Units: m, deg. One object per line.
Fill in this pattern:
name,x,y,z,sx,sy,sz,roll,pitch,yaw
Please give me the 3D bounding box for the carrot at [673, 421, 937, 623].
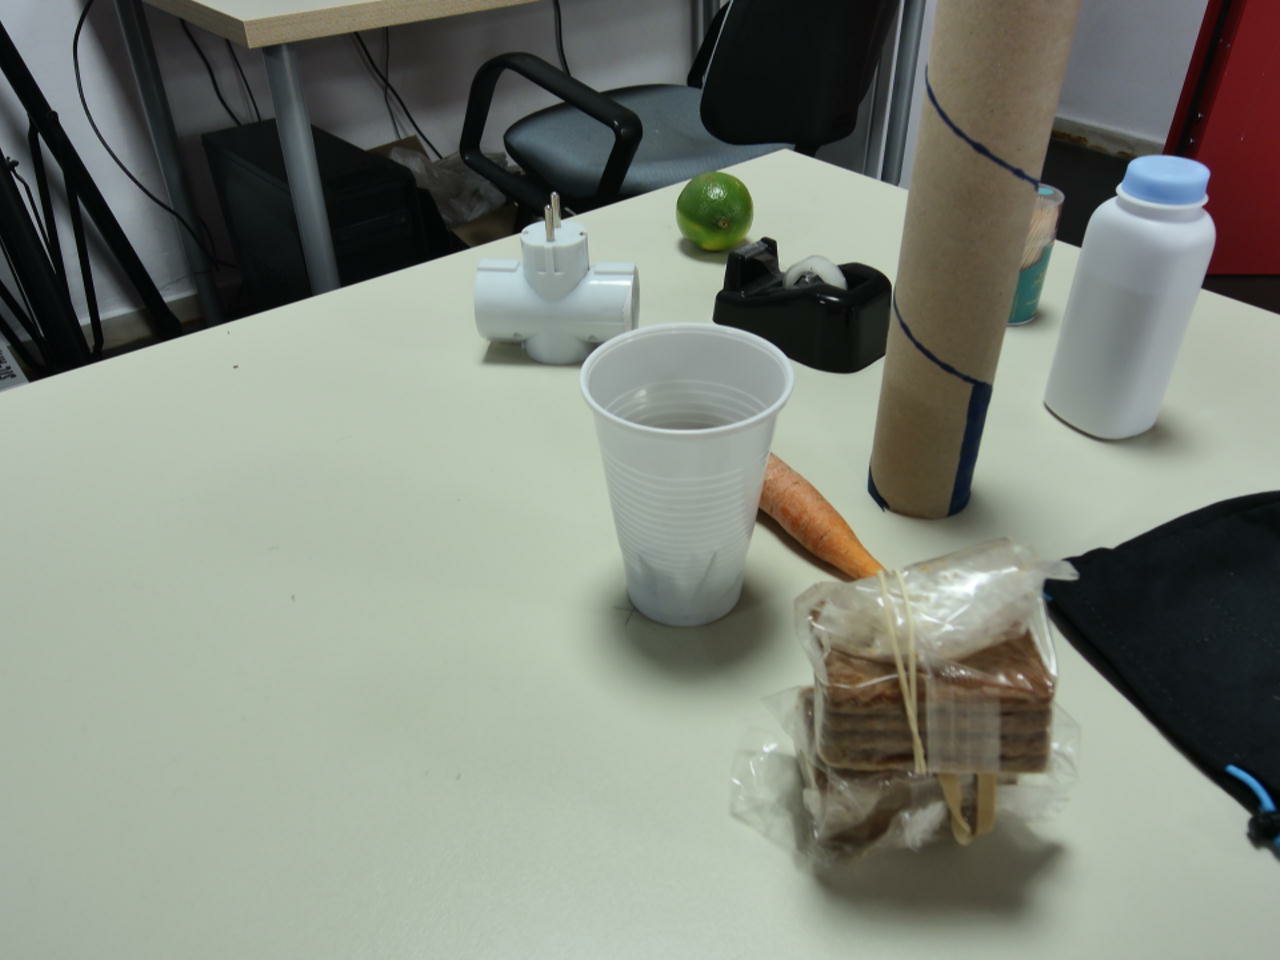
carrot,0.072,0.012,0.450,0.031,0.029,0.163,-24,41,-30
